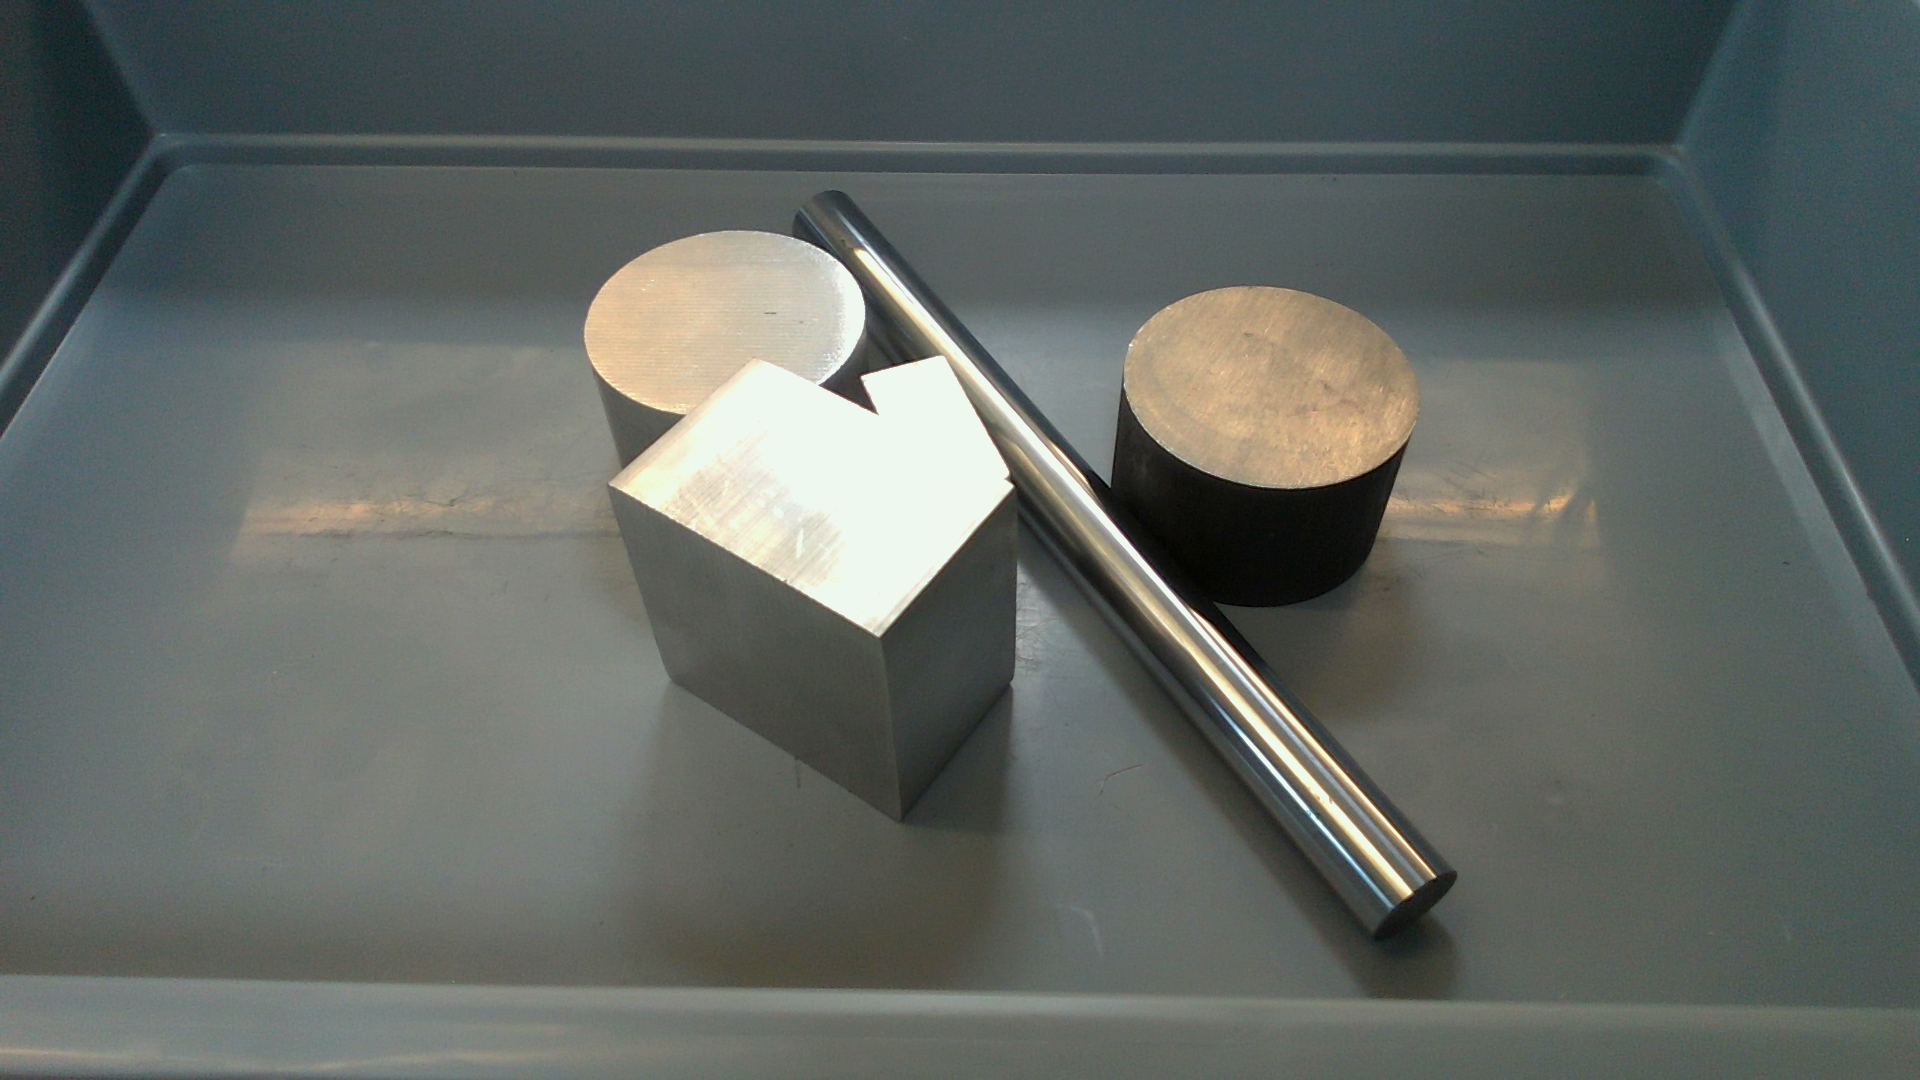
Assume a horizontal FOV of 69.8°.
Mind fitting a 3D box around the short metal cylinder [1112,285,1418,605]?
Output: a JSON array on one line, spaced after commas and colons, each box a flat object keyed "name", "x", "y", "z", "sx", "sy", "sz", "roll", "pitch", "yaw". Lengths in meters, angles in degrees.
[{"name": "short metal cylinder", "x": 0.085, "y": -0.028, "z": 0.398, "sx": 0.080, "sy": 0.050, "sz": 0.080, "roll": 0, "pitch": 50, "yaw": 0}]

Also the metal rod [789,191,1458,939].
[{"name": "metal rod", "x": 0.028, "y": -0.014, "z": 0.401, "sx": 0.025, "sy": 0.025, "sz": 0.299, "roll": -25, "pitch": 54, "yaw": -19}]

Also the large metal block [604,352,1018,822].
[{"name": "large metal block", "x": -0.033, "y": 0.012, "z": 0.343, "sx": 0.080, "sy": 0.080, "sz": 0.050, "roll": 27, "pitch": 56, "yaw": 22}]

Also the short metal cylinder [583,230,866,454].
[{"name": "short metal cylinder", "x": -0.067, "y": -0.048, "z": 0.414, "sx": 0.080, "sy": 0.050, "sz": 0.080, "roll": 0, "pitch": 50, "yaw": 0}]

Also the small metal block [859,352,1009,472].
[{"name": "small metal block", "x": -0.007, "y": -0.015, "z": 0.386, "sx": 0.025, "sy": 0.050, "sz": 0.050, "roll": -17, "pitch": 52, "yaw": -13}]
